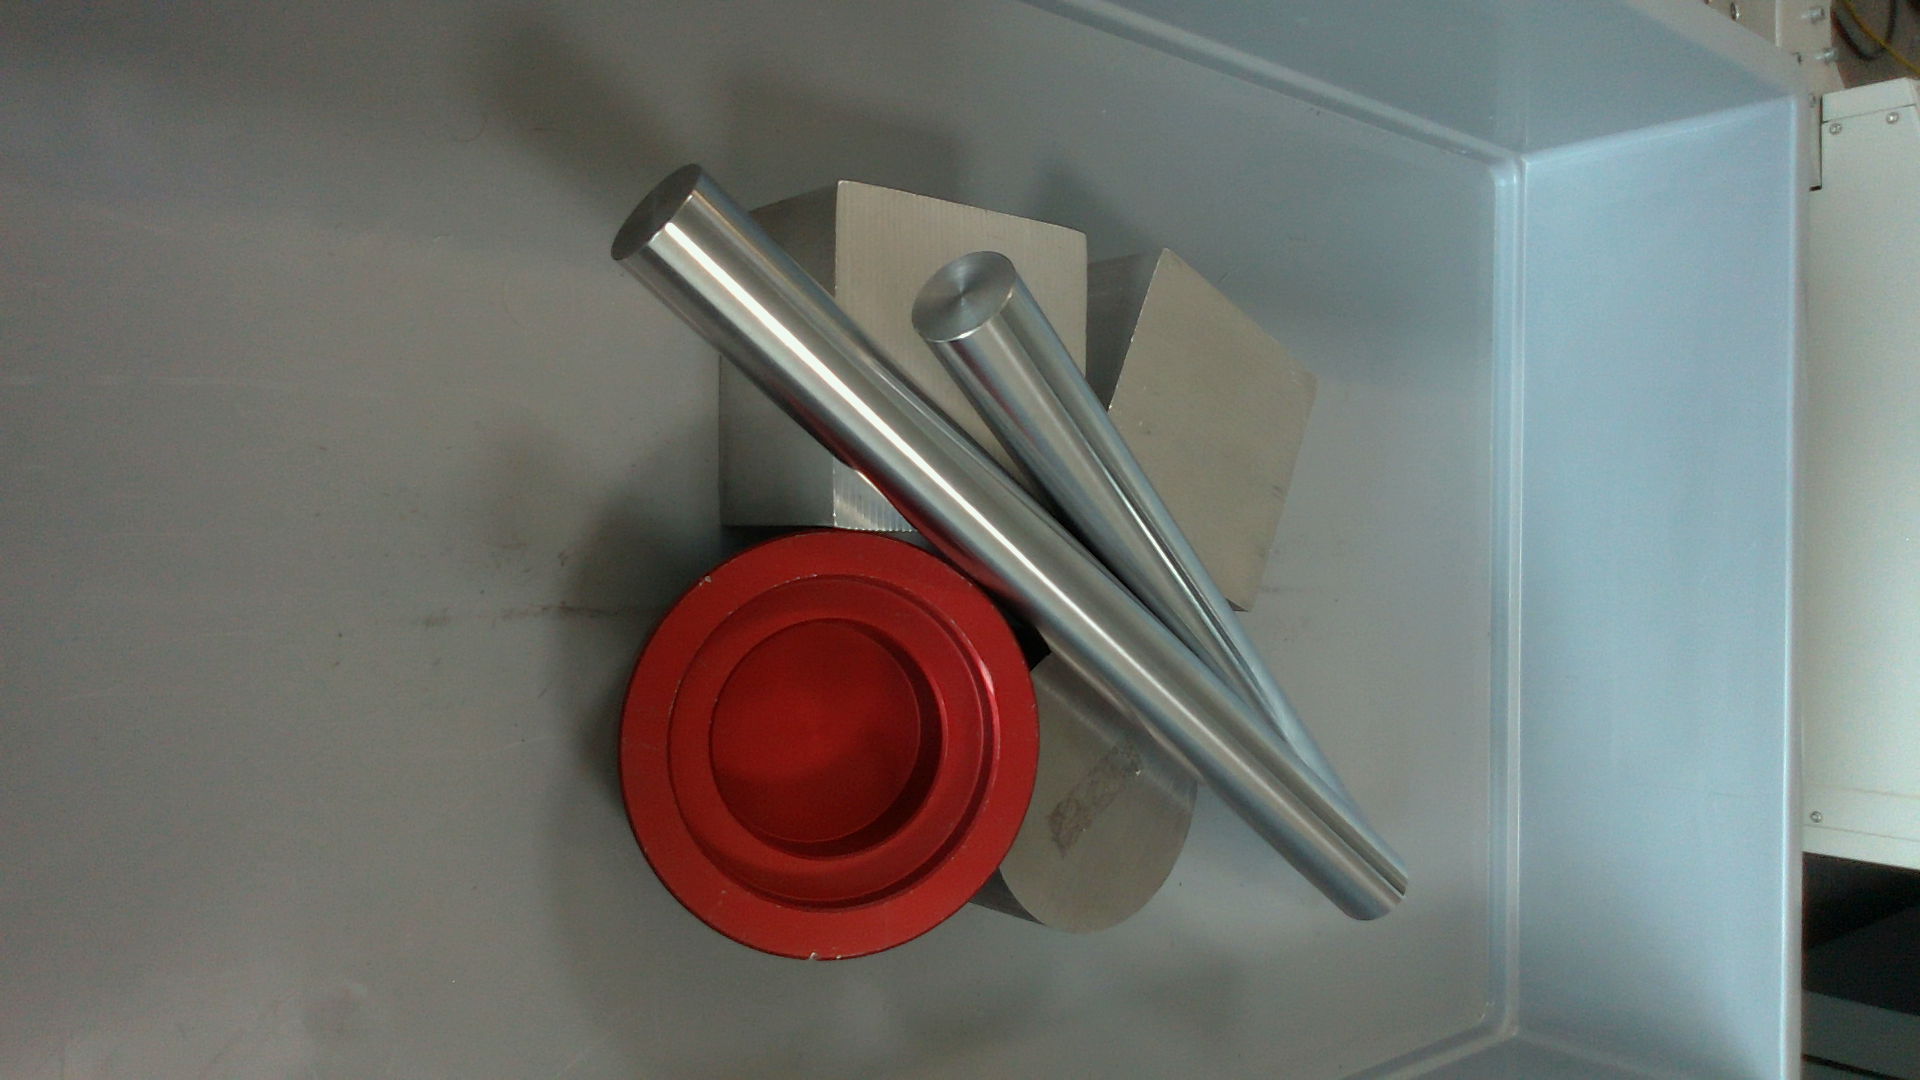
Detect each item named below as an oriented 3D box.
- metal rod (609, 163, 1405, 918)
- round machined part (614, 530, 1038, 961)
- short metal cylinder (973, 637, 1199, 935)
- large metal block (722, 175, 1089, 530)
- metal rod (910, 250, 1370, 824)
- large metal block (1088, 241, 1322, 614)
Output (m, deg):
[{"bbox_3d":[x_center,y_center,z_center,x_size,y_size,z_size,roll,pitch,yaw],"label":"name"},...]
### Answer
[{"bbox_3d":[0.034,0.021,0.349,0.301,0.025,0.025,42,65,-33],"label":"metal rod"},{"bbox_3d":[-0.034,0.047,0.333,0.098,0.042,0.098,1,87,-16],"label":"round machined part"},{"bbox_3d":[0.022,0.065,0.388,0.080,0.050,0.080,0,90,-40],"label":"short metal cylinder"},{"bbox_3d":[-0.013,-0.042,0.356,0.080,0.050,0.080,1,89,-40],"label":"large metal block"},{"bbox_3d":[0.070,0.029,0.397,0.301,0.025,0.025,49,60,-45],"label":"metal rod"},{"bbox_3d":[0.057,-0.031,0.417,0.080,0.050,0.080,31,71,-36],"label":"large metal block"}]
